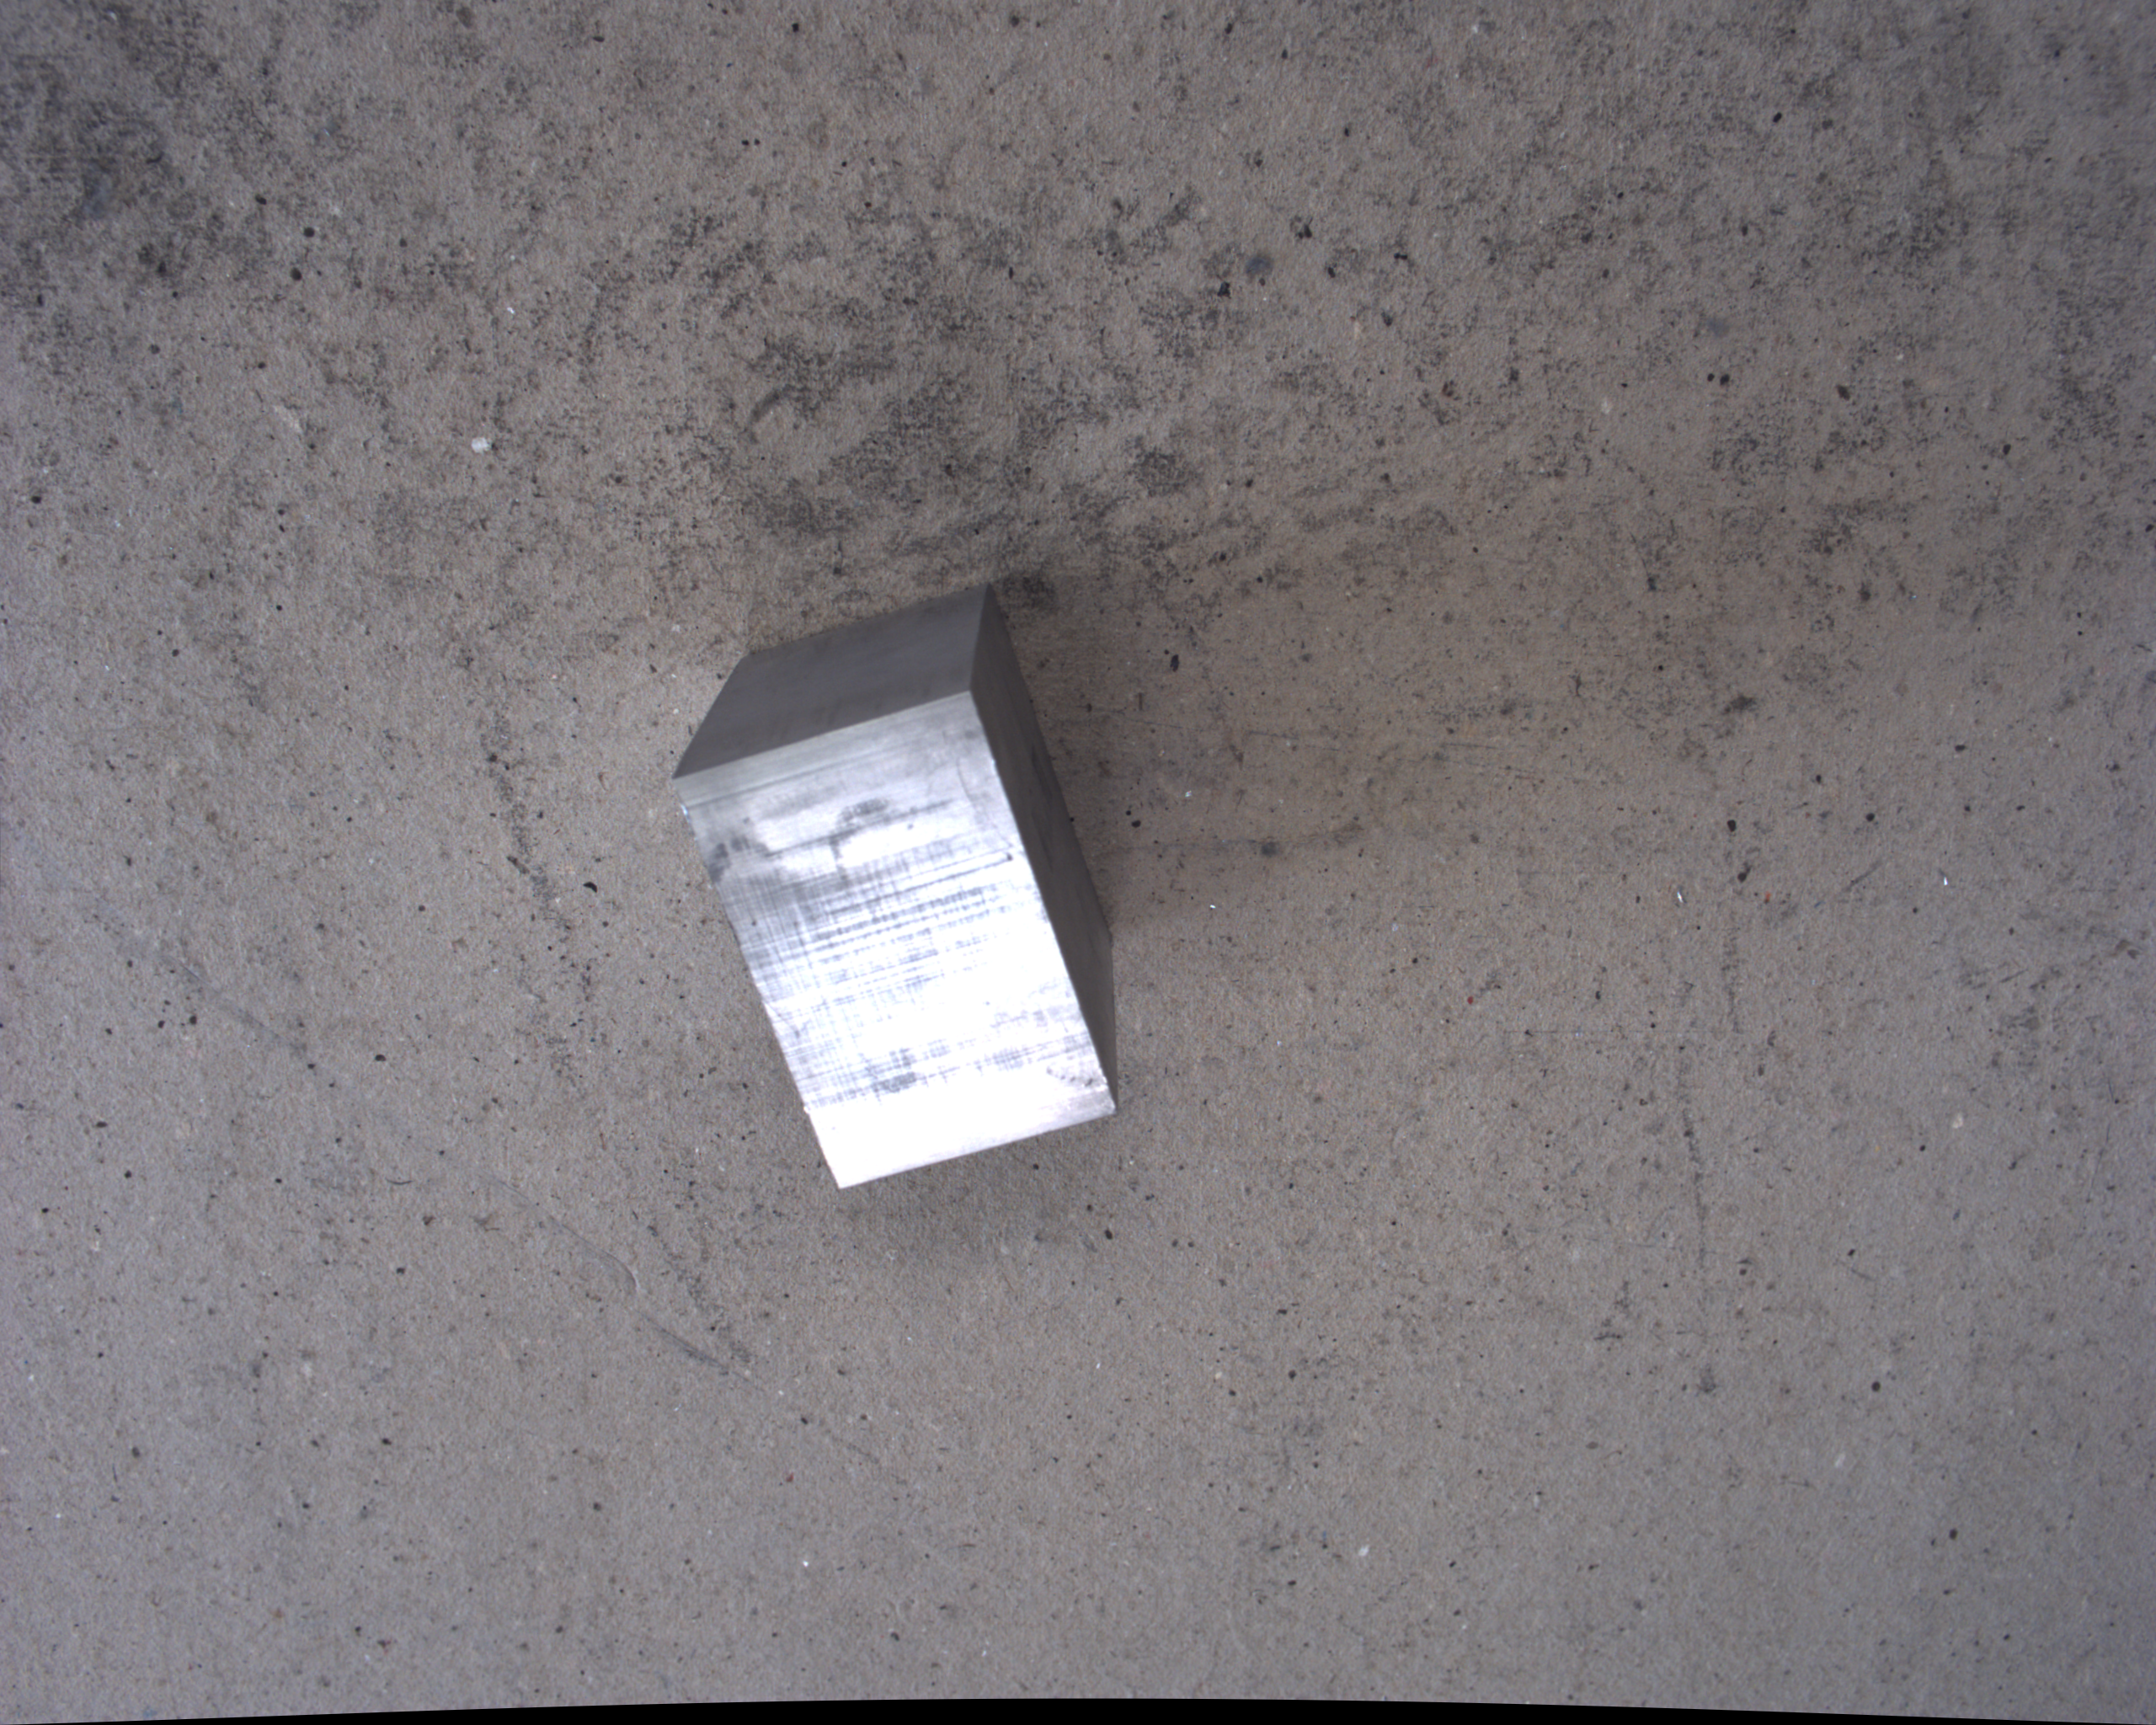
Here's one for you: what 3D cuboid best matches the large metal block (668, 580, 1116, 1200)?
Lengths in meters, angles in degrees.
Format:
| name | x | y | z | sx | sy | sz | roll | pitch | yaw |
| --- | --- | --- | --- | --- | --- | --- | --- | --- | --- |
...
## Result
| name | x | y | z | sx | sy | sz | roll | pitch | yaw |
| --- | --- | --- | --- | --- | --- | --- | --- | --- | --- |
| large metal block | -0.029 | 0.002 | 0.382 | 0.050 | 0.080 | 0.080 | -16 | 109 | 6 |
